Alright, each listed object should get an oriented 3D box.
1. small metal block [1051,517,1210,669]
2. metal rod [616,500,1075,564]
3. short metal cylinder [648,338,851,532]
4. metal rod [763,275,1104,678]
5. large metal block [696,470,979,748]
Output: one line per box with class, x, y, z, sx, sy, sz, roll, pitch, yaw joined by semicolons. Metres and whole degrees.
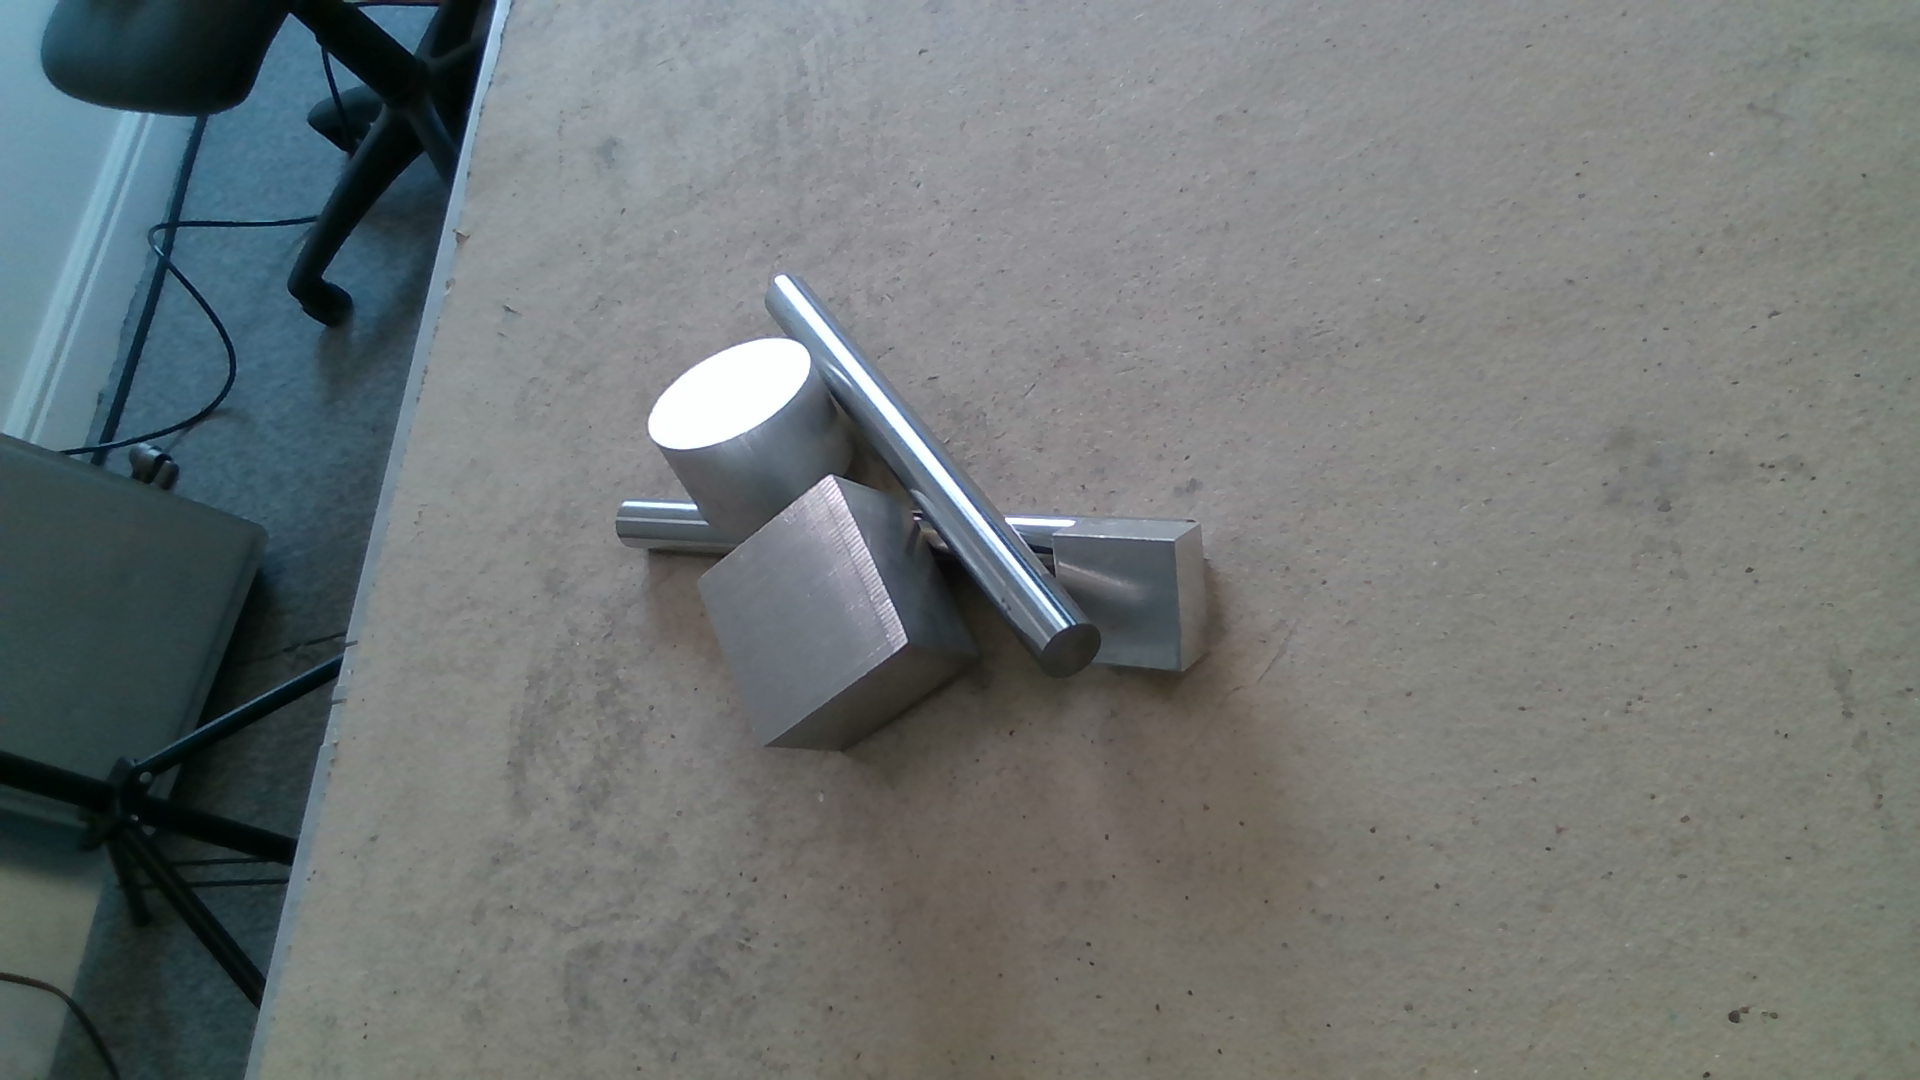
small metal block;0.065;0.019;0.520;0.050;0.025;0.050;3;107;32
metal rod;-0.038;-0.003;0.610;0.300;0.025;0.025;3;67;33
short metal cylinder;-0.097;-0.050;0.639;0.080;0.050;0.080;-16;38;13
metal rod;-0.025;-0.043;0.601;0.025;0.025;0.299;-43;44;5
large metal block;-0.052;0.031;0.566;0.080;0.050;0.080;-36;64;22
